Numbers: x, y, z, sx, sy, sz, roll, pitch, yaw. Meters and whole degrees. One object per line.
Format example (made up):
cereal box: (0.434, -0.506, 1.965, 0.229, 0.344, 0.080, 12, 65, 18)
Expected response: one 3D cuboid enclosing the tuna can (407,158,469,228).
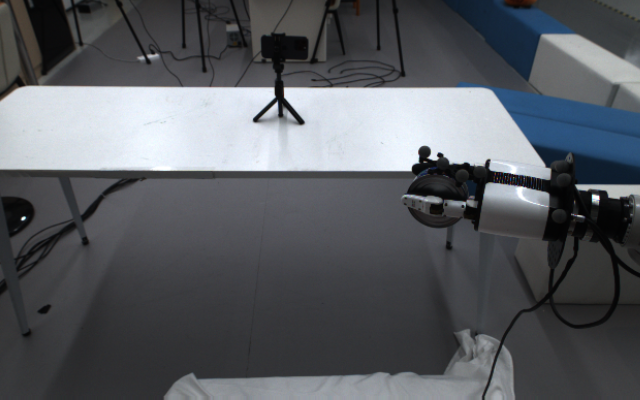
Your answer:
tuna can: (0.174, -0.006, 0.703, 0.085, 0.085, 0.034, 16, 28, 19)
